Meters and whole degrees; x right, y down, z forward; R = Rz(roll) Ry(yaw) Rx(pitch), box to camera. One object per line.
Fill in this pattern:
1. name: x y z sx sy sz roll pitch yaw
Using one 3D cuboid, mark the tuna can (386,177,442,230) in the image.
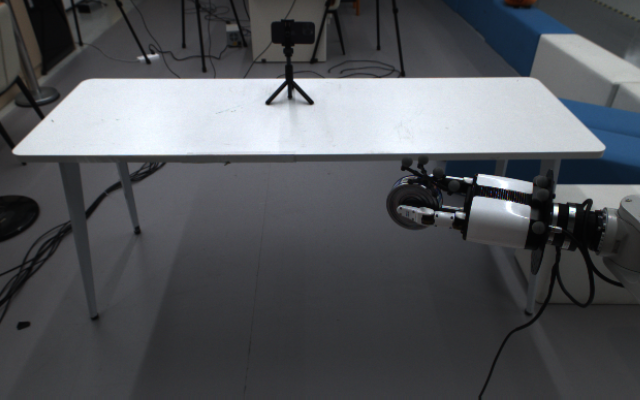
1. tuna can: 0.154 0.011 0.770 0.085 0.085 0.034 15 31 18
